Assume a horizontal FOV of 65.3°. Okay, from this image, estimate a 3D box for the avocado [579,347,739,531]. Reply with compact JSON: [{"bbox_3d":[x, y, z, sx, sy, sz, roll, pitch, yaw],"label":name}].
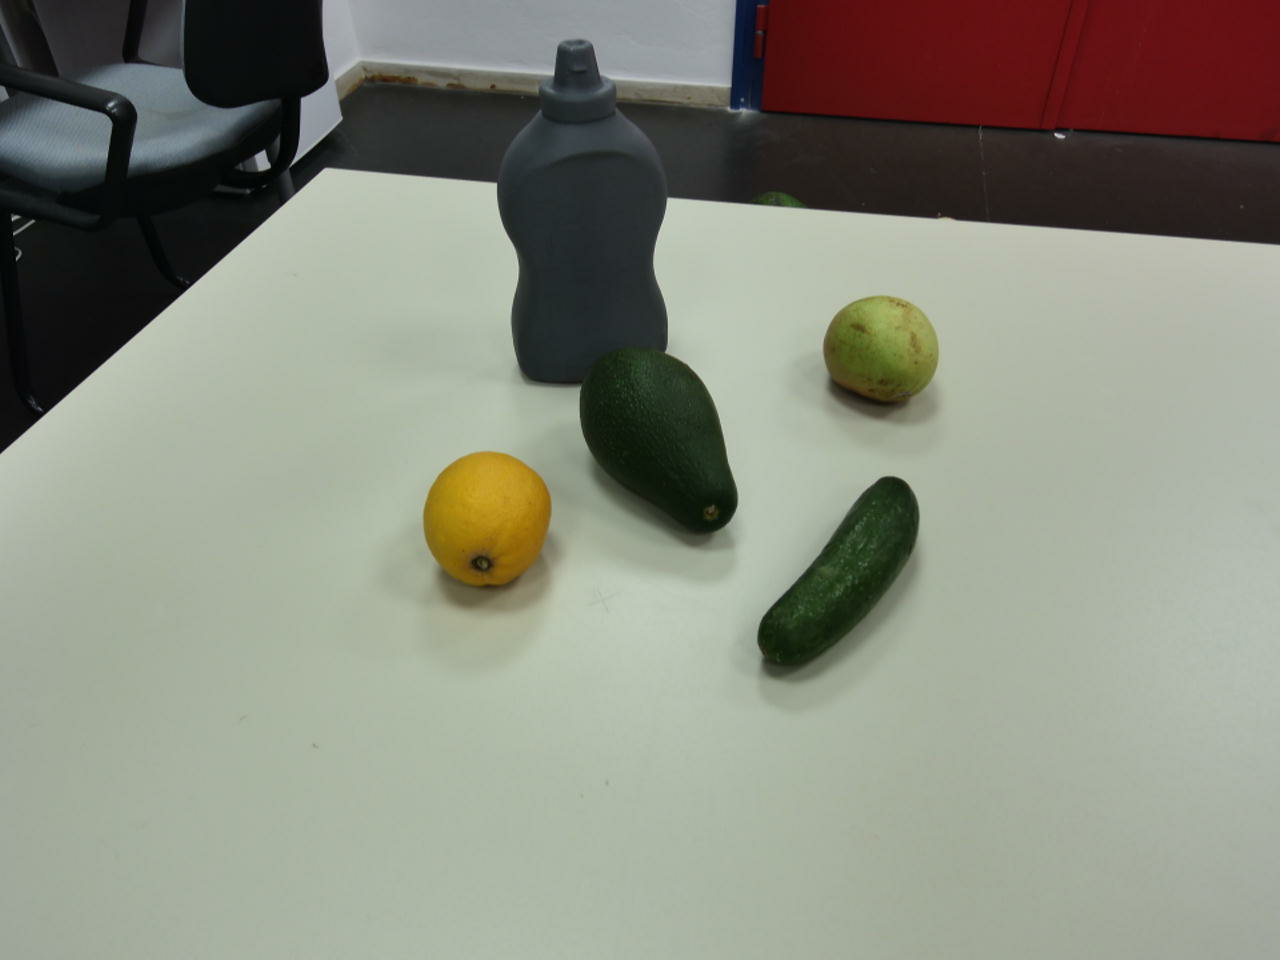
[{"bbox_3d":[0.007,-0.024,0.517,0.072,0.071,0.109,-7,39,-7],"label":"avocado"}]
